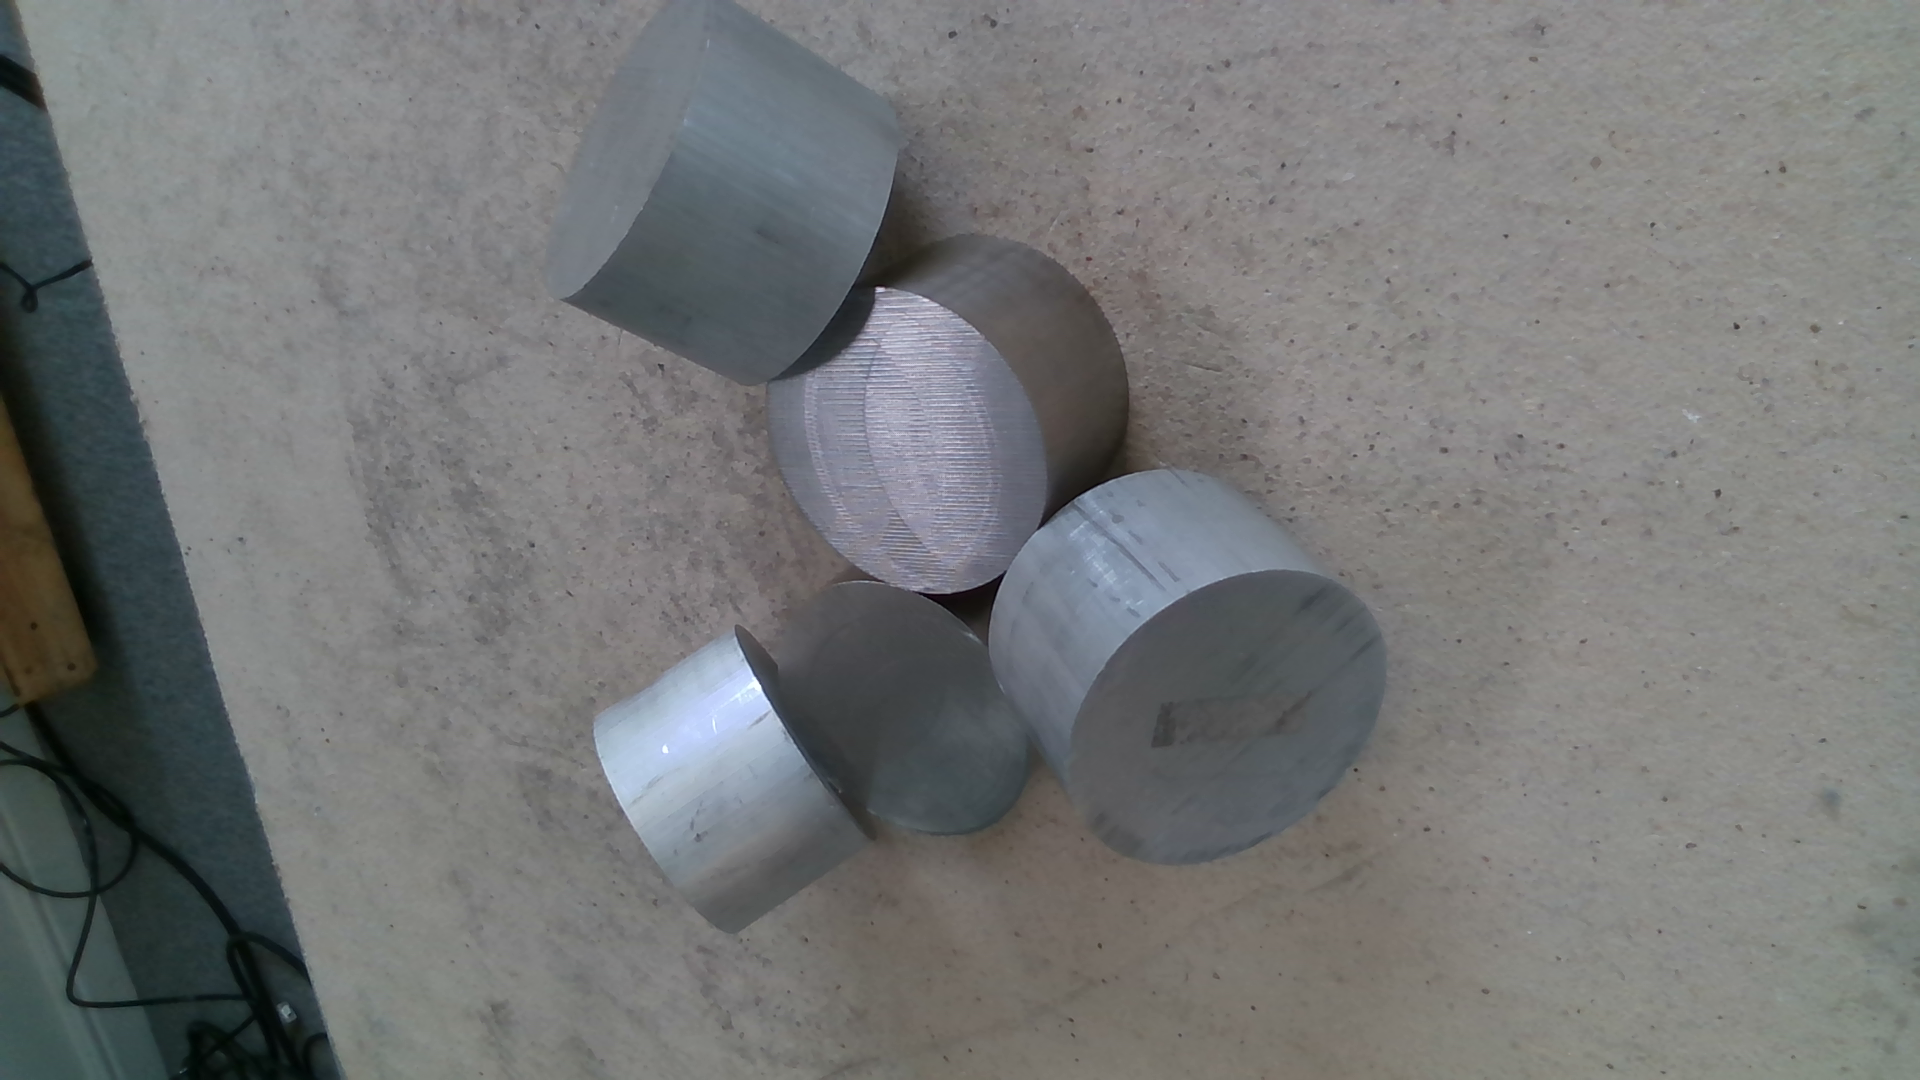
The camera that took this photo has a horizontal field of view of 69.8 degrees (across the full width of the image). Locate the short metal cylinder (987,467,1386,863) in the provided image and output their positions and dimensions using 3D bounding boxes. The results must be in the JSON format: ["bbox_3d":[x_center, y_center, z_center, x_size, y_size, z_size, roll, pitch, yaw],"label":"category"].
[{"bbox_3d":[0.053,0.029,0.330,0.050,0.080,0.080,-125,31,-55],"label":"short metal cylinder"}]

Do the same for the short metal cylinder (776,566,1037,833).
[{"bbox_3d":[-0.005,0.036,0.396,0.080,0.050,0.080,14,122,24],"label":"short metal cylinder"}]

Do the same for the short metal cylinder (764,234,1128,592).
[{"bbox_3d":[-0.003,-0.033,0.356,0.080,0.050,0.080,14,122,24],"label":"short metal cylinder"}]

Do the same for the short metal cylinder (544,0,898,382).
[{"bbox_3d":[-0.059,-0.085,0.335,0.050,0.080,0.080,23,139,-33],"label":"short metal cylinder"}]

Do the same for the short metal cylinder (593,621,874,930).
[{"bbox_3d":[-0.069,0.072,0.428,0.050,0.080,0.080,-33,97,-3],"label":"short metal cylinder"}]
